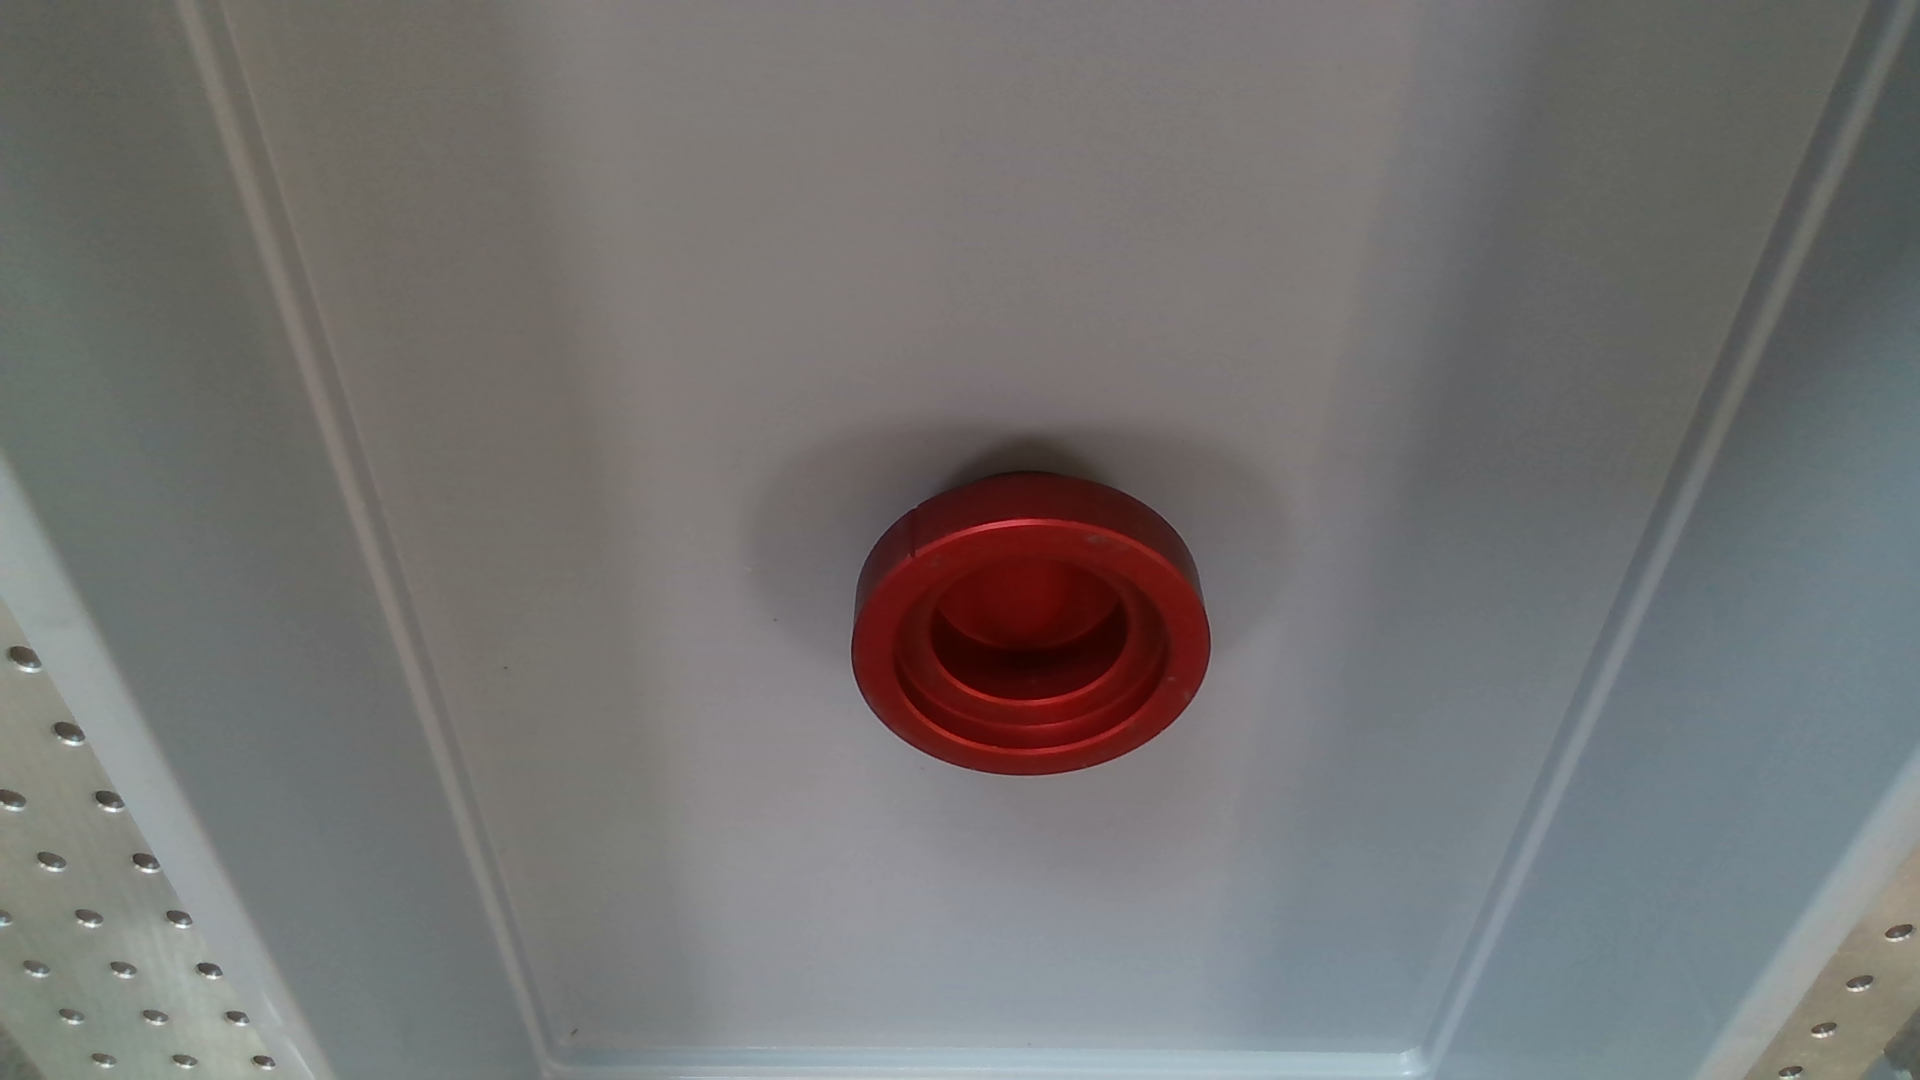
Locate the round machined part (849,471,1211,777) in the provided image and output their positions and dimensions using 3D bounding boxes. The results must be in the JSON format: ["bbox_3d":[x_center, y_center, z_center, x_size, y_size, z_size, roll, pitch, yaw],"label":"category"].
[{"bbox_3d":[0.019,0.019,0.390,0.098,0.042,0.098,0,130,0],"label":"round machined part"}]
